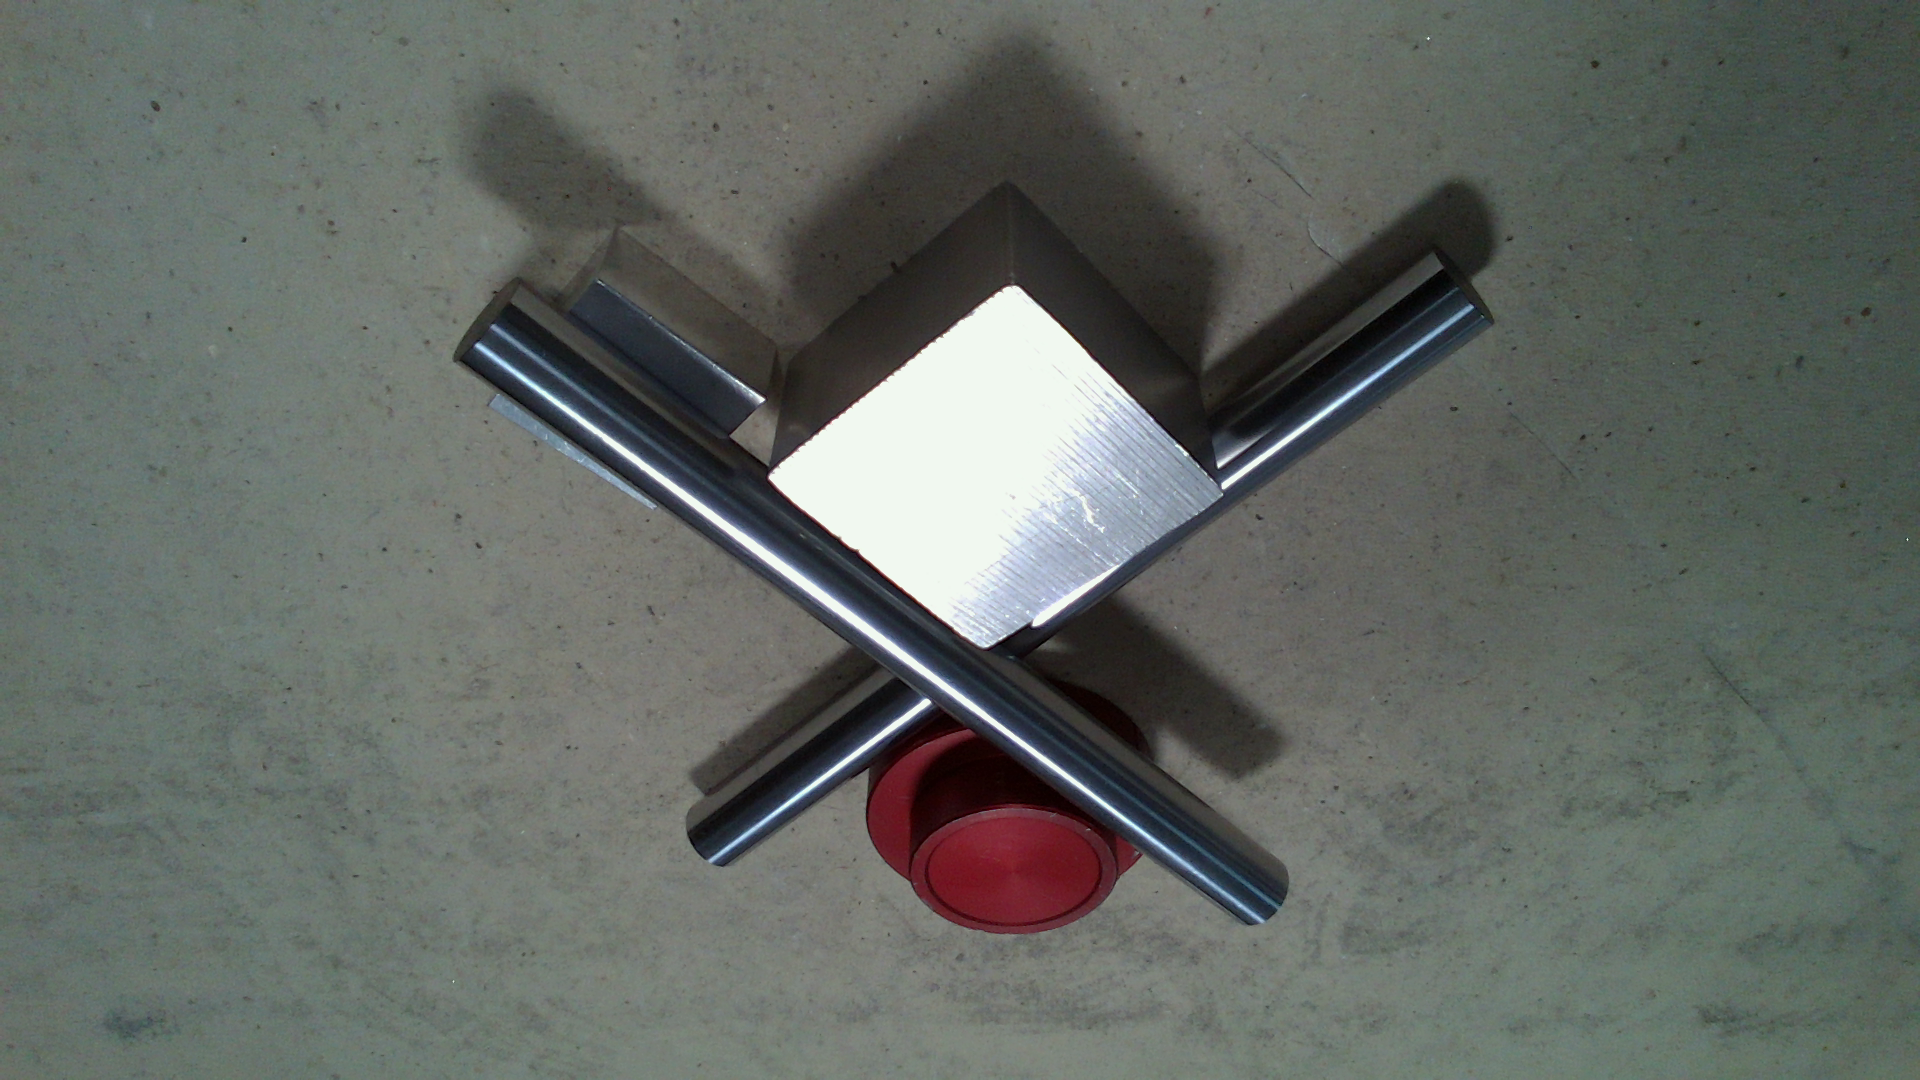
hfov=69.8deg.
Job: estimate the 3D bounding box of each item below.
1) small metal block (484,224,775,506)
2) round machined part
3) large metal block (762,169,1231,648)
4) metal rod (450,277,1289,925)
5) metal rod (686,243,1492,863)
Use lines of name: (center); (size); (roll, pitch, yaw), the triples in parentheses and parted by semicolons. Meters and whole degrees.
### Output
small metal block: (-0.084, -0.044, 0.355); (0.050, 0.025, 0.050); (35, 122, -26)
round machined part: (0.017, 0.094, 0.459); (0.098, 0.042, 0.098); (0, 130, 0)
large metal block: (0.009, -0.030, 0.350); (0.080, 0.050, 0.080); (-34, 122, 25)
metal rod: (-0.005, 0.033, 0.385); (0.025, 0.025, 0.301); (-36, 122, 26)
metal rod: (0.019, 0.018, 0.408); (0.025, 0.025, 0.299); (37, 121, -27)
